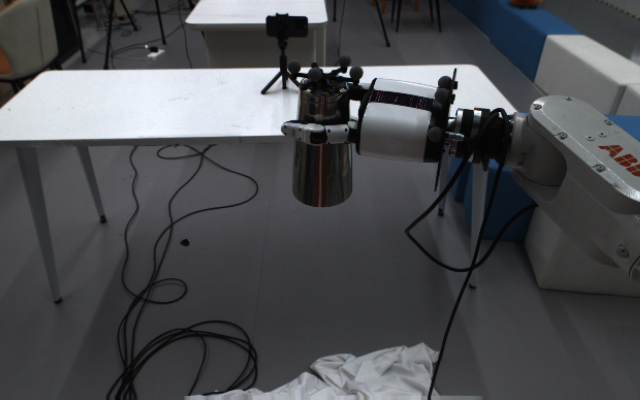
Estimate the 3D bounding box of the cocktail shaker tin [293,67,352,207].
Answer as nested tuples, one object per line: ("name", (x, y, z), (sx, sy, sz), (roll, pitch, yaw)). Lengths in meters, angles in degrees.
("cocktail shaker tin", (0.008, -0.088, 0.680), (0.093, 0.170, 0.093), (1, 39, -1))
